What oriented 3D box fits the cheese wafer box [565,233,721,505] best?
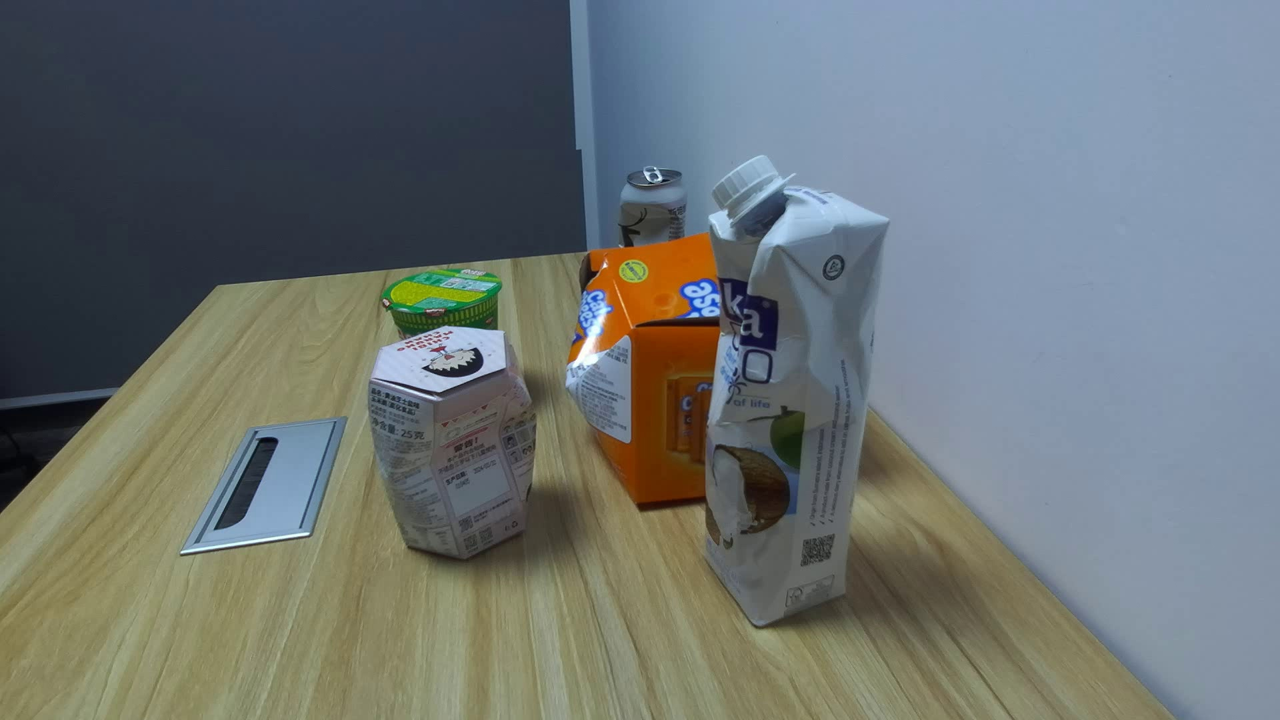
[{"bbox_3d":[0.035,-0.011,0.563,0.191,0.145,0.218,-6,27,-9],"label":"cheese wafer box"}]

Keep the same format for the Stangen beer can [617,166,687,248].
[{"bbox_3d":[0.014,-0.119,0.745,0.070,0.173,0.070,30,51,28],"label":"Stangen beer can"}]

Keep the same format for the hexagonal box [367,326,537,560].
[{"bbox_3d":[-0.115,0.054,0.457,0.091,0.134,0.090,-1,30,1],"label":"hexagonal box"}]

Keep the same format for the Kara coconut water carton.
[{"bbox_3d":[0.074,0.019,0.376,0.078,0.256,0.083,-8,28,-8],"label":"Kara coconut water carton"}]

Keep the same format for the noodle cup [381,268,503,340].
[{"bbox_3d":[-0.164,-0.012,0.615,0.097,0.110,0.097,-1,26,1],"label":"noodle cup"}]
